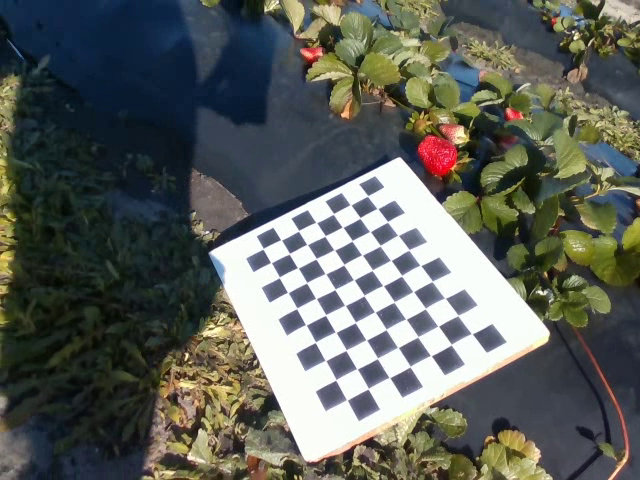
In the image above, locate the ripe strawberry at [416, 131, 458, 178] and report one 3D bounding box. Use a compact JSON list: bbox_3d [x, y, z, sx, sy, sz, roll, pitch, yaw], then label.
[{"bbox_3d":[0.145,-0.107,0.764,0.058,0.066,0.061,-10,-39,40],"label":"ripe strawberry"}]
